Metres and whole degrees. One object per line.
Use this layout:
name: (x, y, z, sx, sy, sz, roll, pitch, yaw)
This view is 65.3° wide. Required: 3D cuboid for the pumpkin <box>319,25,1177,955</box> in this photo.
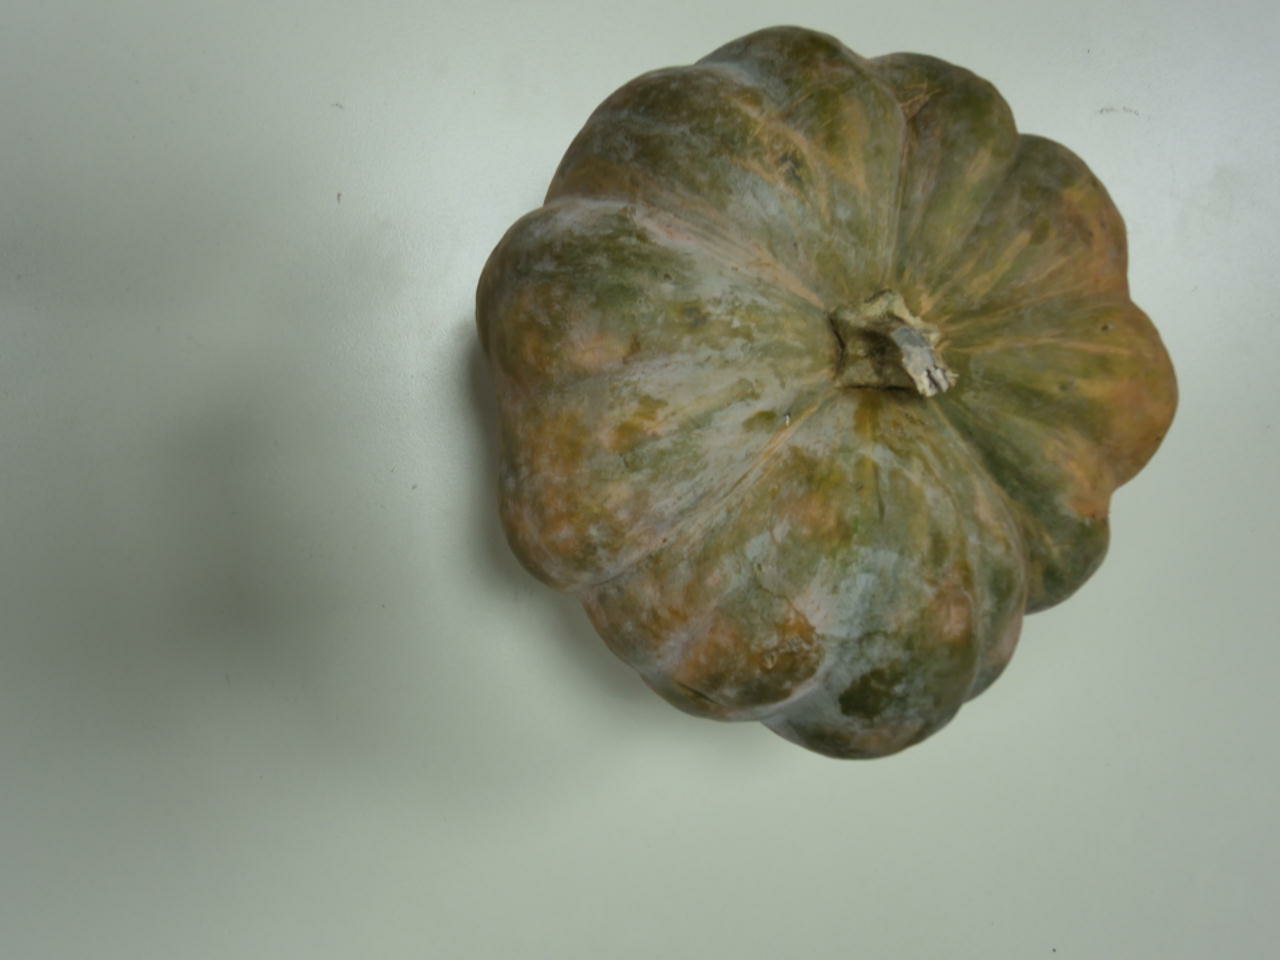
pumpkin: (0.063, -0.037, 0.365, 0.252, 0.169, 0.252, 0, 91, -12)
